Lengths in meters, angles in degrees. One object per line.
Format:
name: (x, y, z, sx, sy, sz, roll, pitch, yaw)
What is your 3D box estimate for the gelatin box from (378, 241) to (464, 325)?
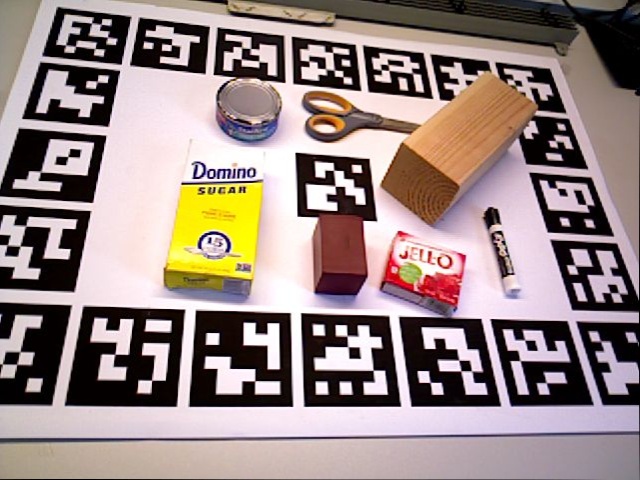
gelatin box: (0.120, 0.050, 0.642, 0.089, 0.031, 0.072, 20, 59, 0)

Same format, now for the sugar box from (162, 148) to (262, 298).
sugar box: (-0.120, -0.022, 0.626, 0.092, 0.046, 0.174, 8, 60, -8)

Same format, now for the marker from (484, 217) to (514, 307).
marker: (0.224, 0.025, 0.682, 0.019, 0.020, 0.119, 5, 62, -10)

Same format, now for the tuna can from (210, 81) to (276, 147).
tuna can: (-0.101, -0.165, 0.713, 0.085, 0.034, 0.084, 5, 61, -9)

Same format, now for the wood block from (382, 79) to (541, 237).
wood block: (0.188, -0.110, 0.715, 0.090, 0.093, 0.202, 41, 60, 13)

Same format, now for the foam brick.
foam brick: (0.021, 0.027, 0.617, 0.052, 0.052, 0.077, 5, 61, -9)

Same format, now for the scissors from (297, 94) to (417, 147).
scissors: (0.065, -0.155, 0.756, 0.201, 0.016, 0.086, 9, 60, -4)
